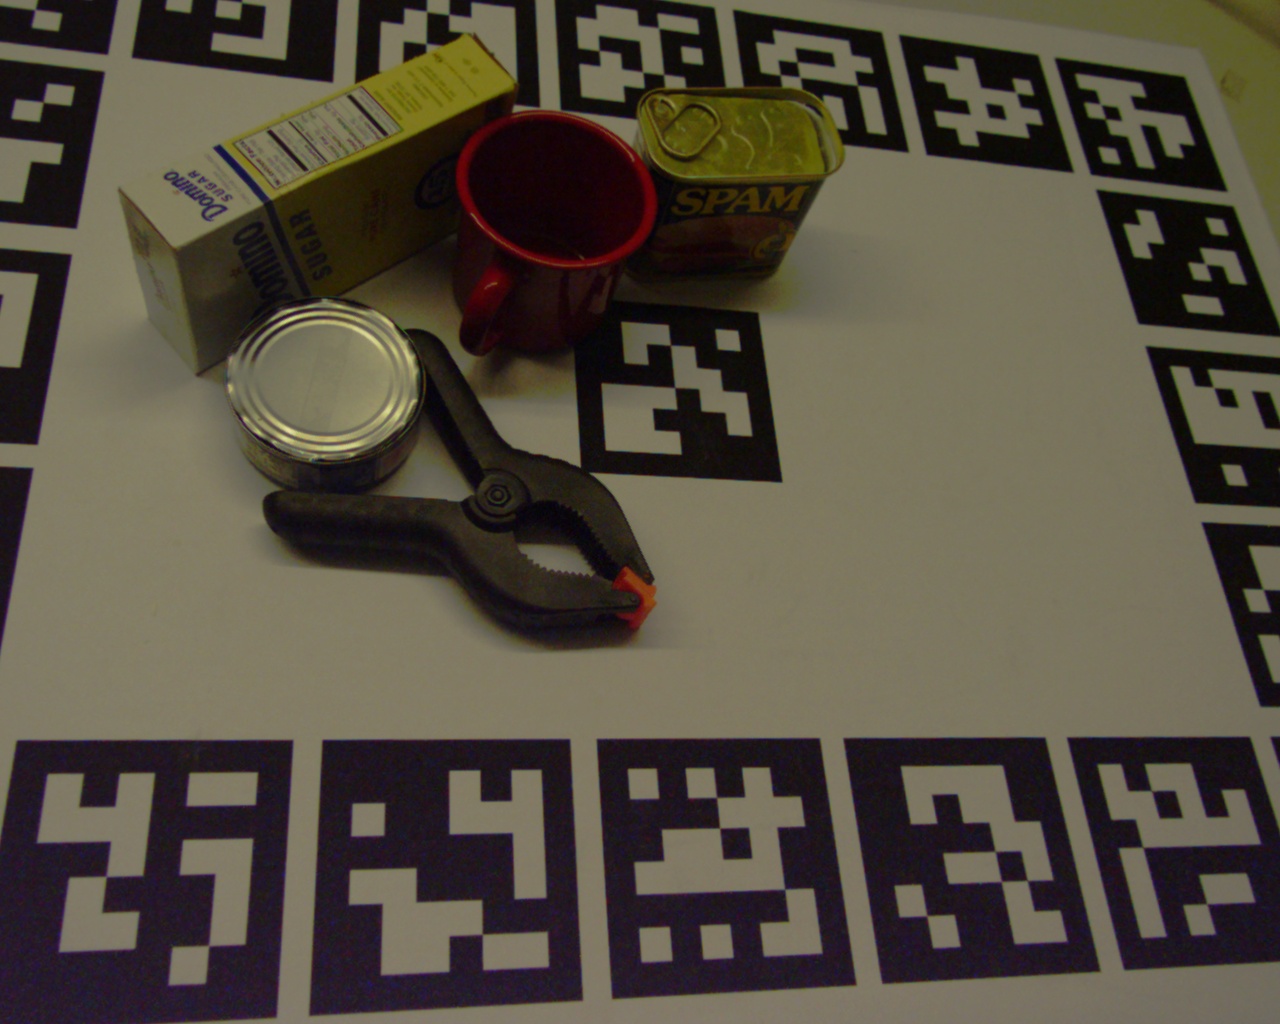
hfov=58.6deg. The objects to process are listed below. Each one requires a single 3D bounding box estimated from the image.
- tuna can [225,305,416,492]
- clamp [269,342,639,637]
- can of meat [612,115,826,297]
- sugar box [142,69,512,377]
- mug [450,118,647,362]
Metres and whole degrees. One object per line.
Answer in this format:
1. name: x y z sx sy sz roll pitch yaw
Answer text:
1. tuna can: -0.150 -0.052 0.539 0.085 0.034 0.086 5 66 -12
2. clamp: -0.073 0.004 0.538 0.165 0.037 0.121 36 58 -1
3. can of meat: 0.036 -0.163 0.618 0.101 0.084 0.058 -5 66 -18
4. sugar box: -0.147 -0.141 0.555 0.175 0.093 0.045 -36 78 -27
5. mug: -0.056 -0.124 0.567 0.093 0.082 0.117 26 63 -3
